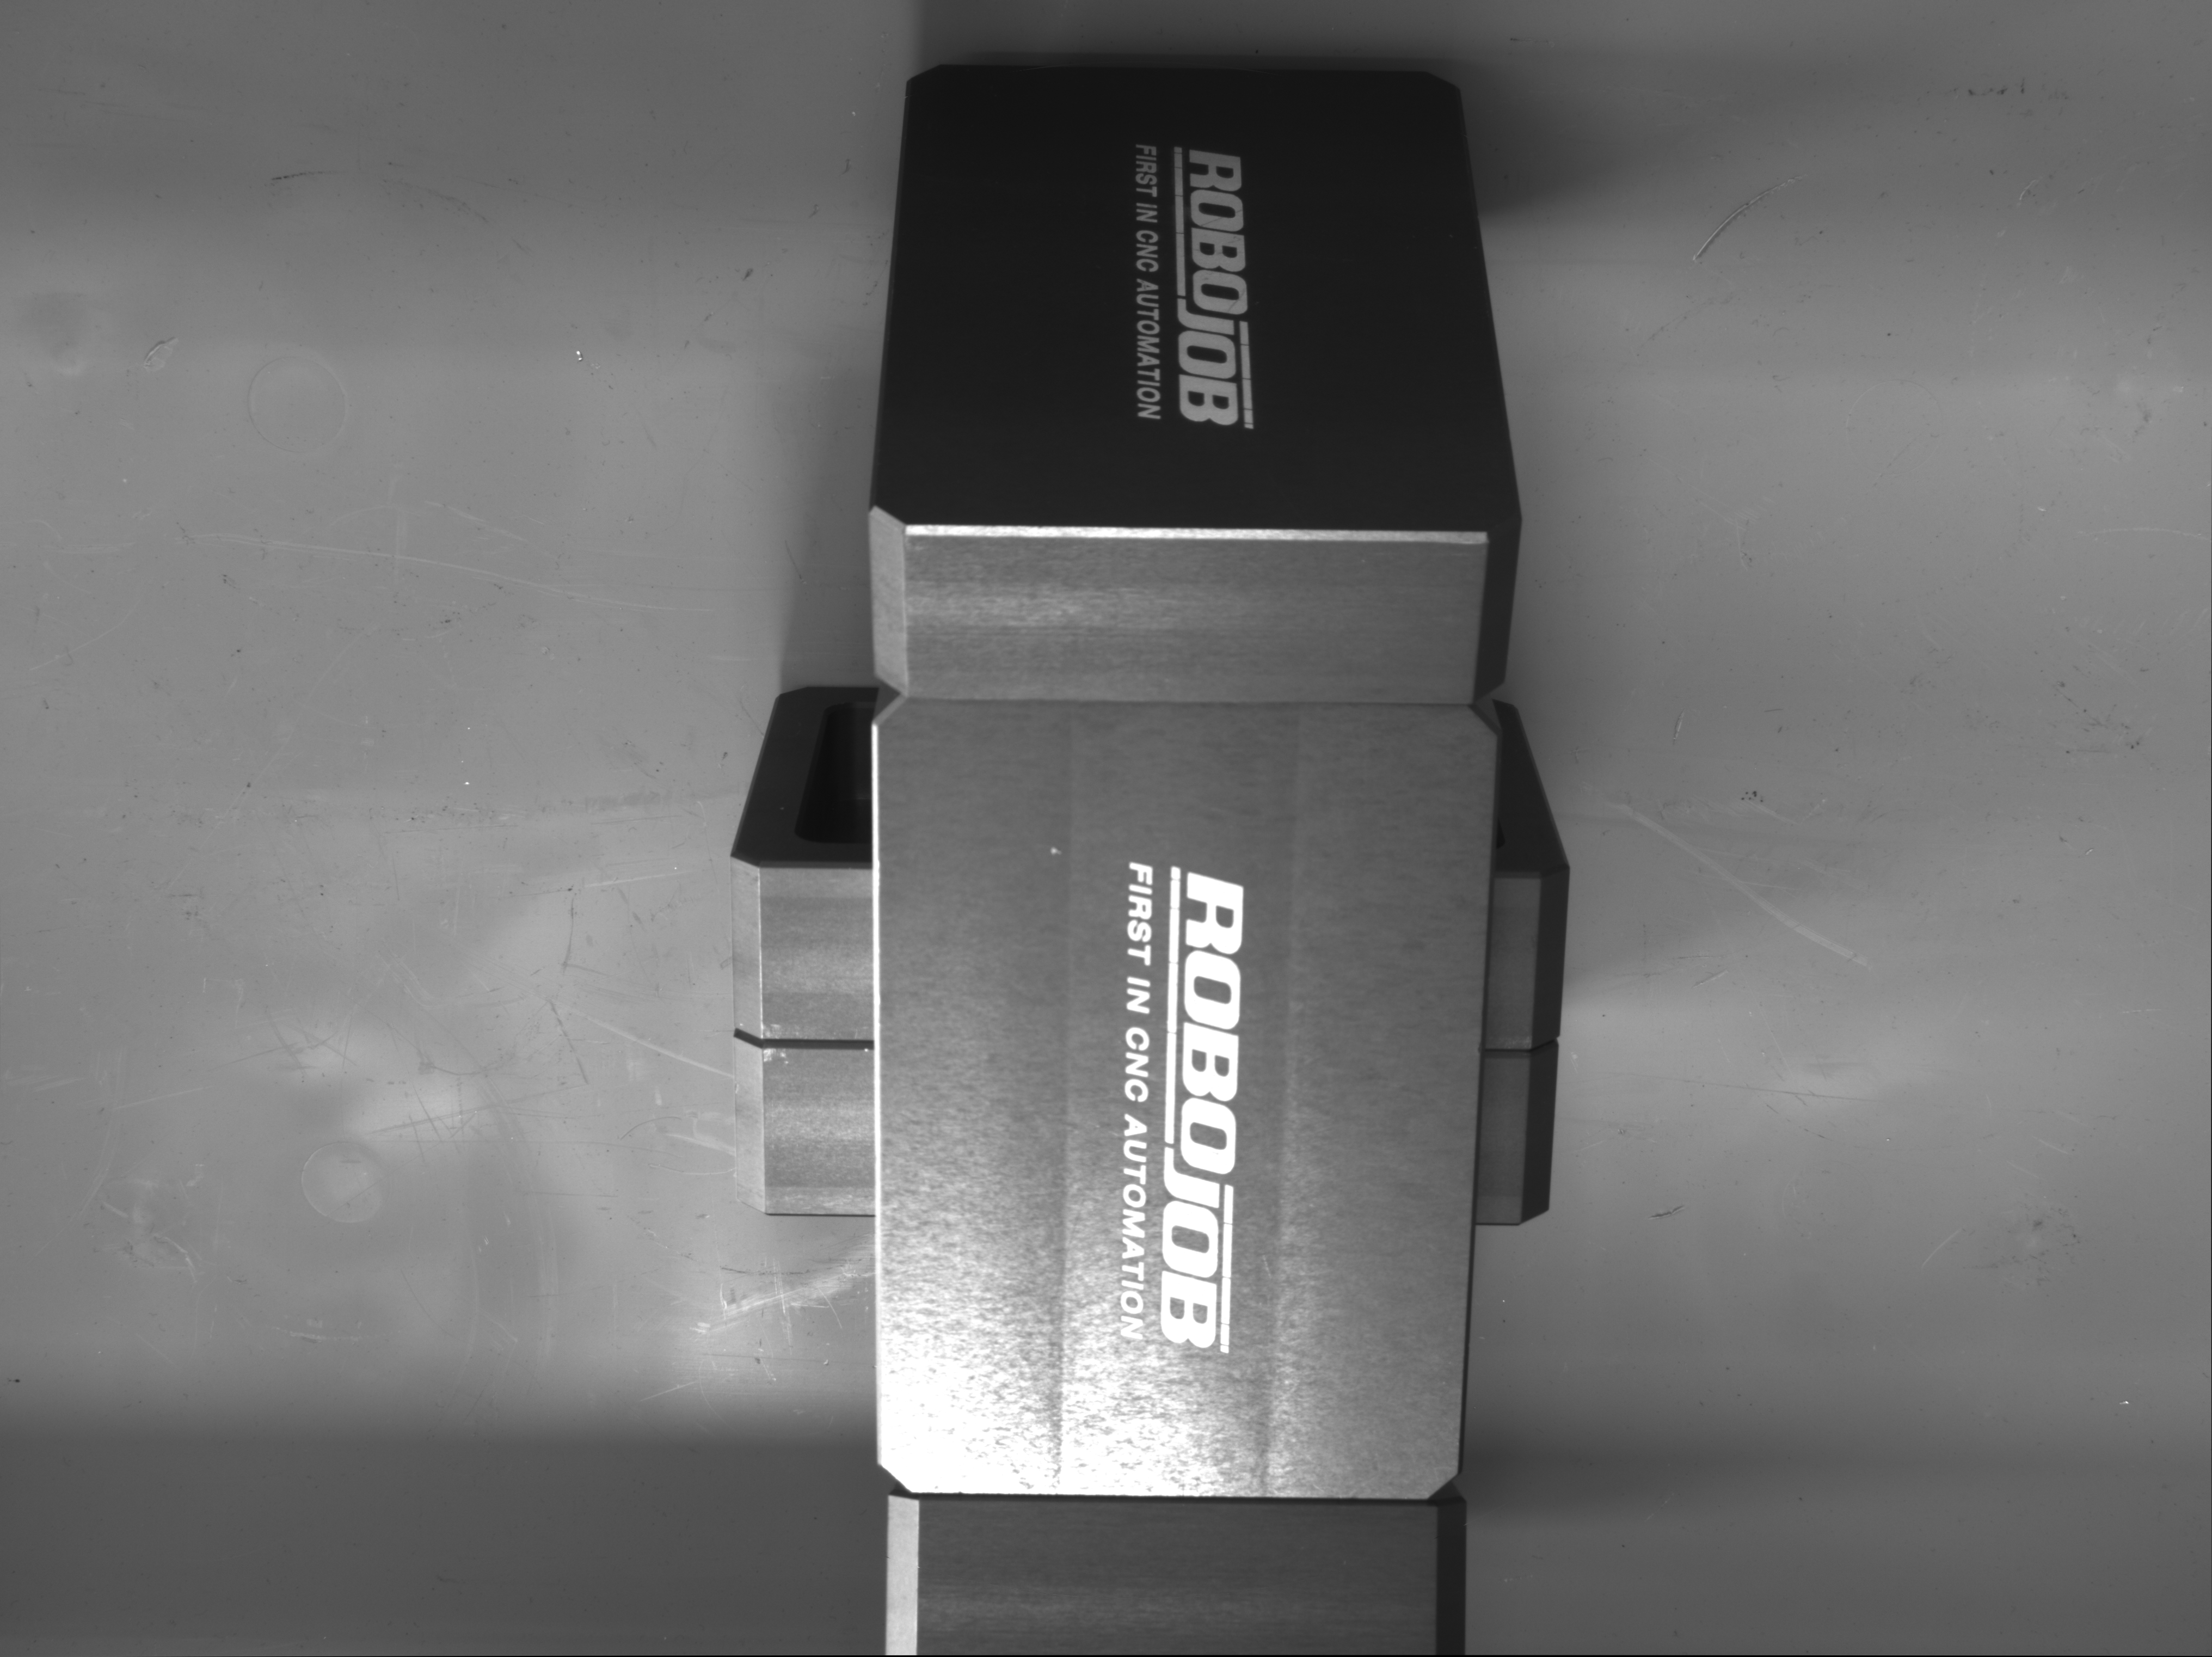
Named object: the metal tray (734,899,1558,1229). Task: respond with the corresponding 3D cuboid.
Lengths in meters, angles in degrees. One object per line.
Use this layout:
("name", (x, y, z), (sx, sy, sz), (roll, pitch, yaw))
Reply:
("metal tray", (0.006, 0.034, 0.621), (0.130, 0.090, 0.030), (1, 110, 0))

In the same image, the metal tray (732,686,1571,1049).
("metal tray", (0.007, 0.005, 0.610), (0.130, 0.090, 0.030), (1, 110, 0))

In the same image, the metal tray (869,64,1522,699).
("metal tray", (0.013, -0.072, 0.560), (0.090, 0.130, 0.030), (1, 130, 0))

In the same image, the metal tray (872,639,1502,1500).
("metal tray", (0.011, 0.038, 0.557), (0.090, 0.030, 0.130), (0, 110, -1))

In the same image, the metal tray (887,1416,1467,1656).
("metal tray", (0.011, 0.121, 0.629), (0.090, 0.130, 0.030), (0, 88, -1))
